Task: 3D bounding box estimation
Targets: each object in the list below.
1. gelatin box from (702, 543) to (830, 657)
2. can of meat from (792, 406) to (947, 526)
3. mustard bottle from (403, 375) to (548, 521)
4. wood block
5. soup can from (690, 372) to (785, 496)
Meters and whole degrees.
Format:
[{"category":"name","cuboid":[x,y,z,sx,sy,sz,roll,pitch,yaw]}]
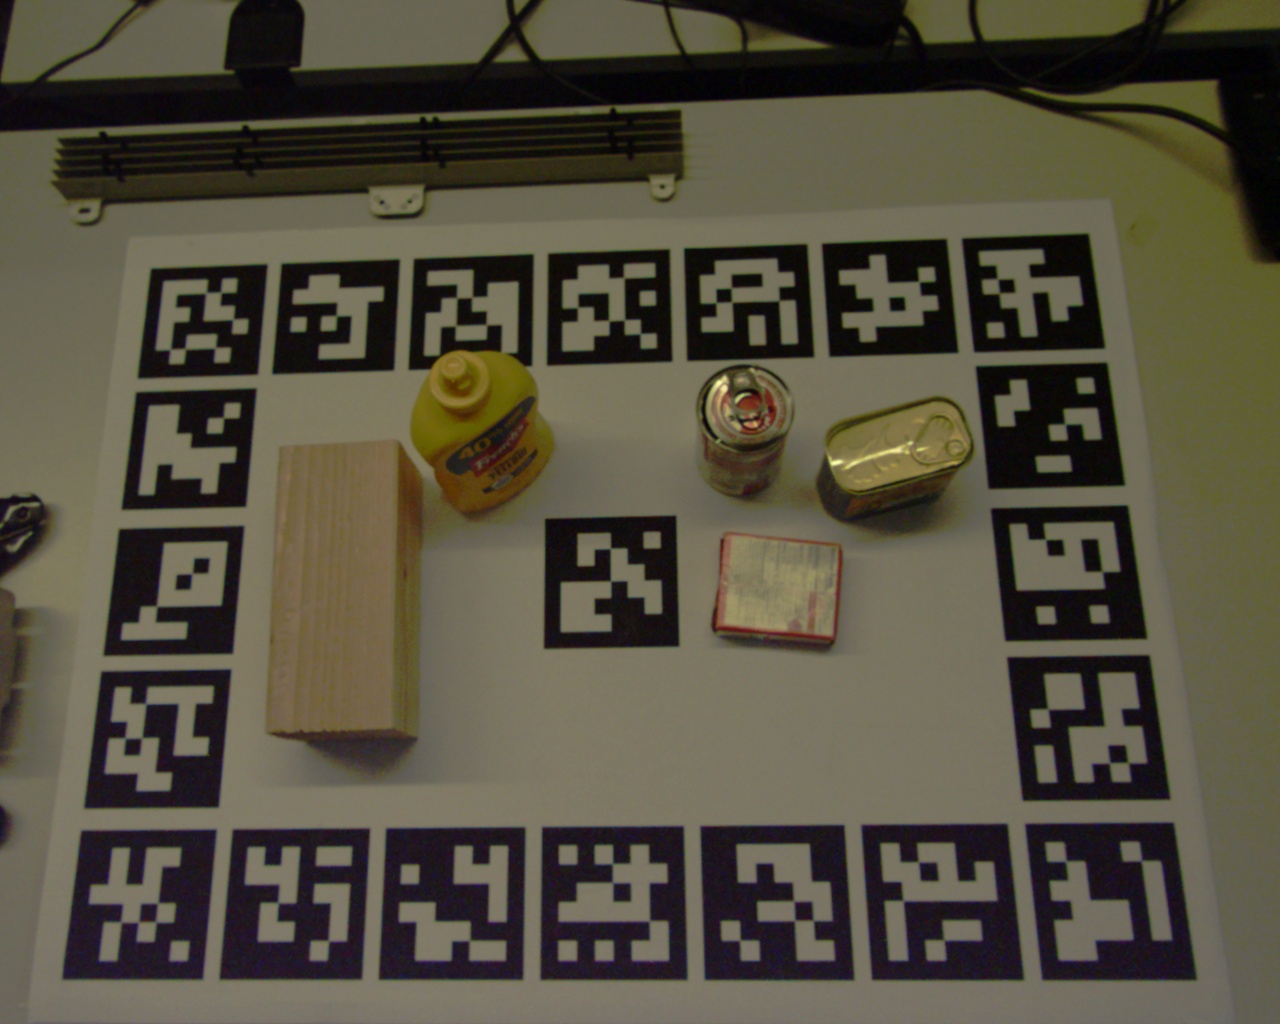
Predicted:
[{"category":"gelatin box","cuboid":[0.096,0.067,0.866,0.090,0.030,0.073,8,76,8]},{"category":"can of meat","cuboid":[0.170,-0.032,0.867,0.101,0.083,0.058,-15,75,-4]},{"category":"mustard bottle","cuboid":[-0.123,-0.052,0.840,0.096,0.191,0.059,-26,74,-7]},{"category":"wood block","cuboid":[-0.218,0.064,0.859,0.091,0.089,0.207,-1,70,1]},{"category":"soup can","cuboid":[0.072,-0.056,0.861,0.068,0.102,0.068,-1,75,3]}]
